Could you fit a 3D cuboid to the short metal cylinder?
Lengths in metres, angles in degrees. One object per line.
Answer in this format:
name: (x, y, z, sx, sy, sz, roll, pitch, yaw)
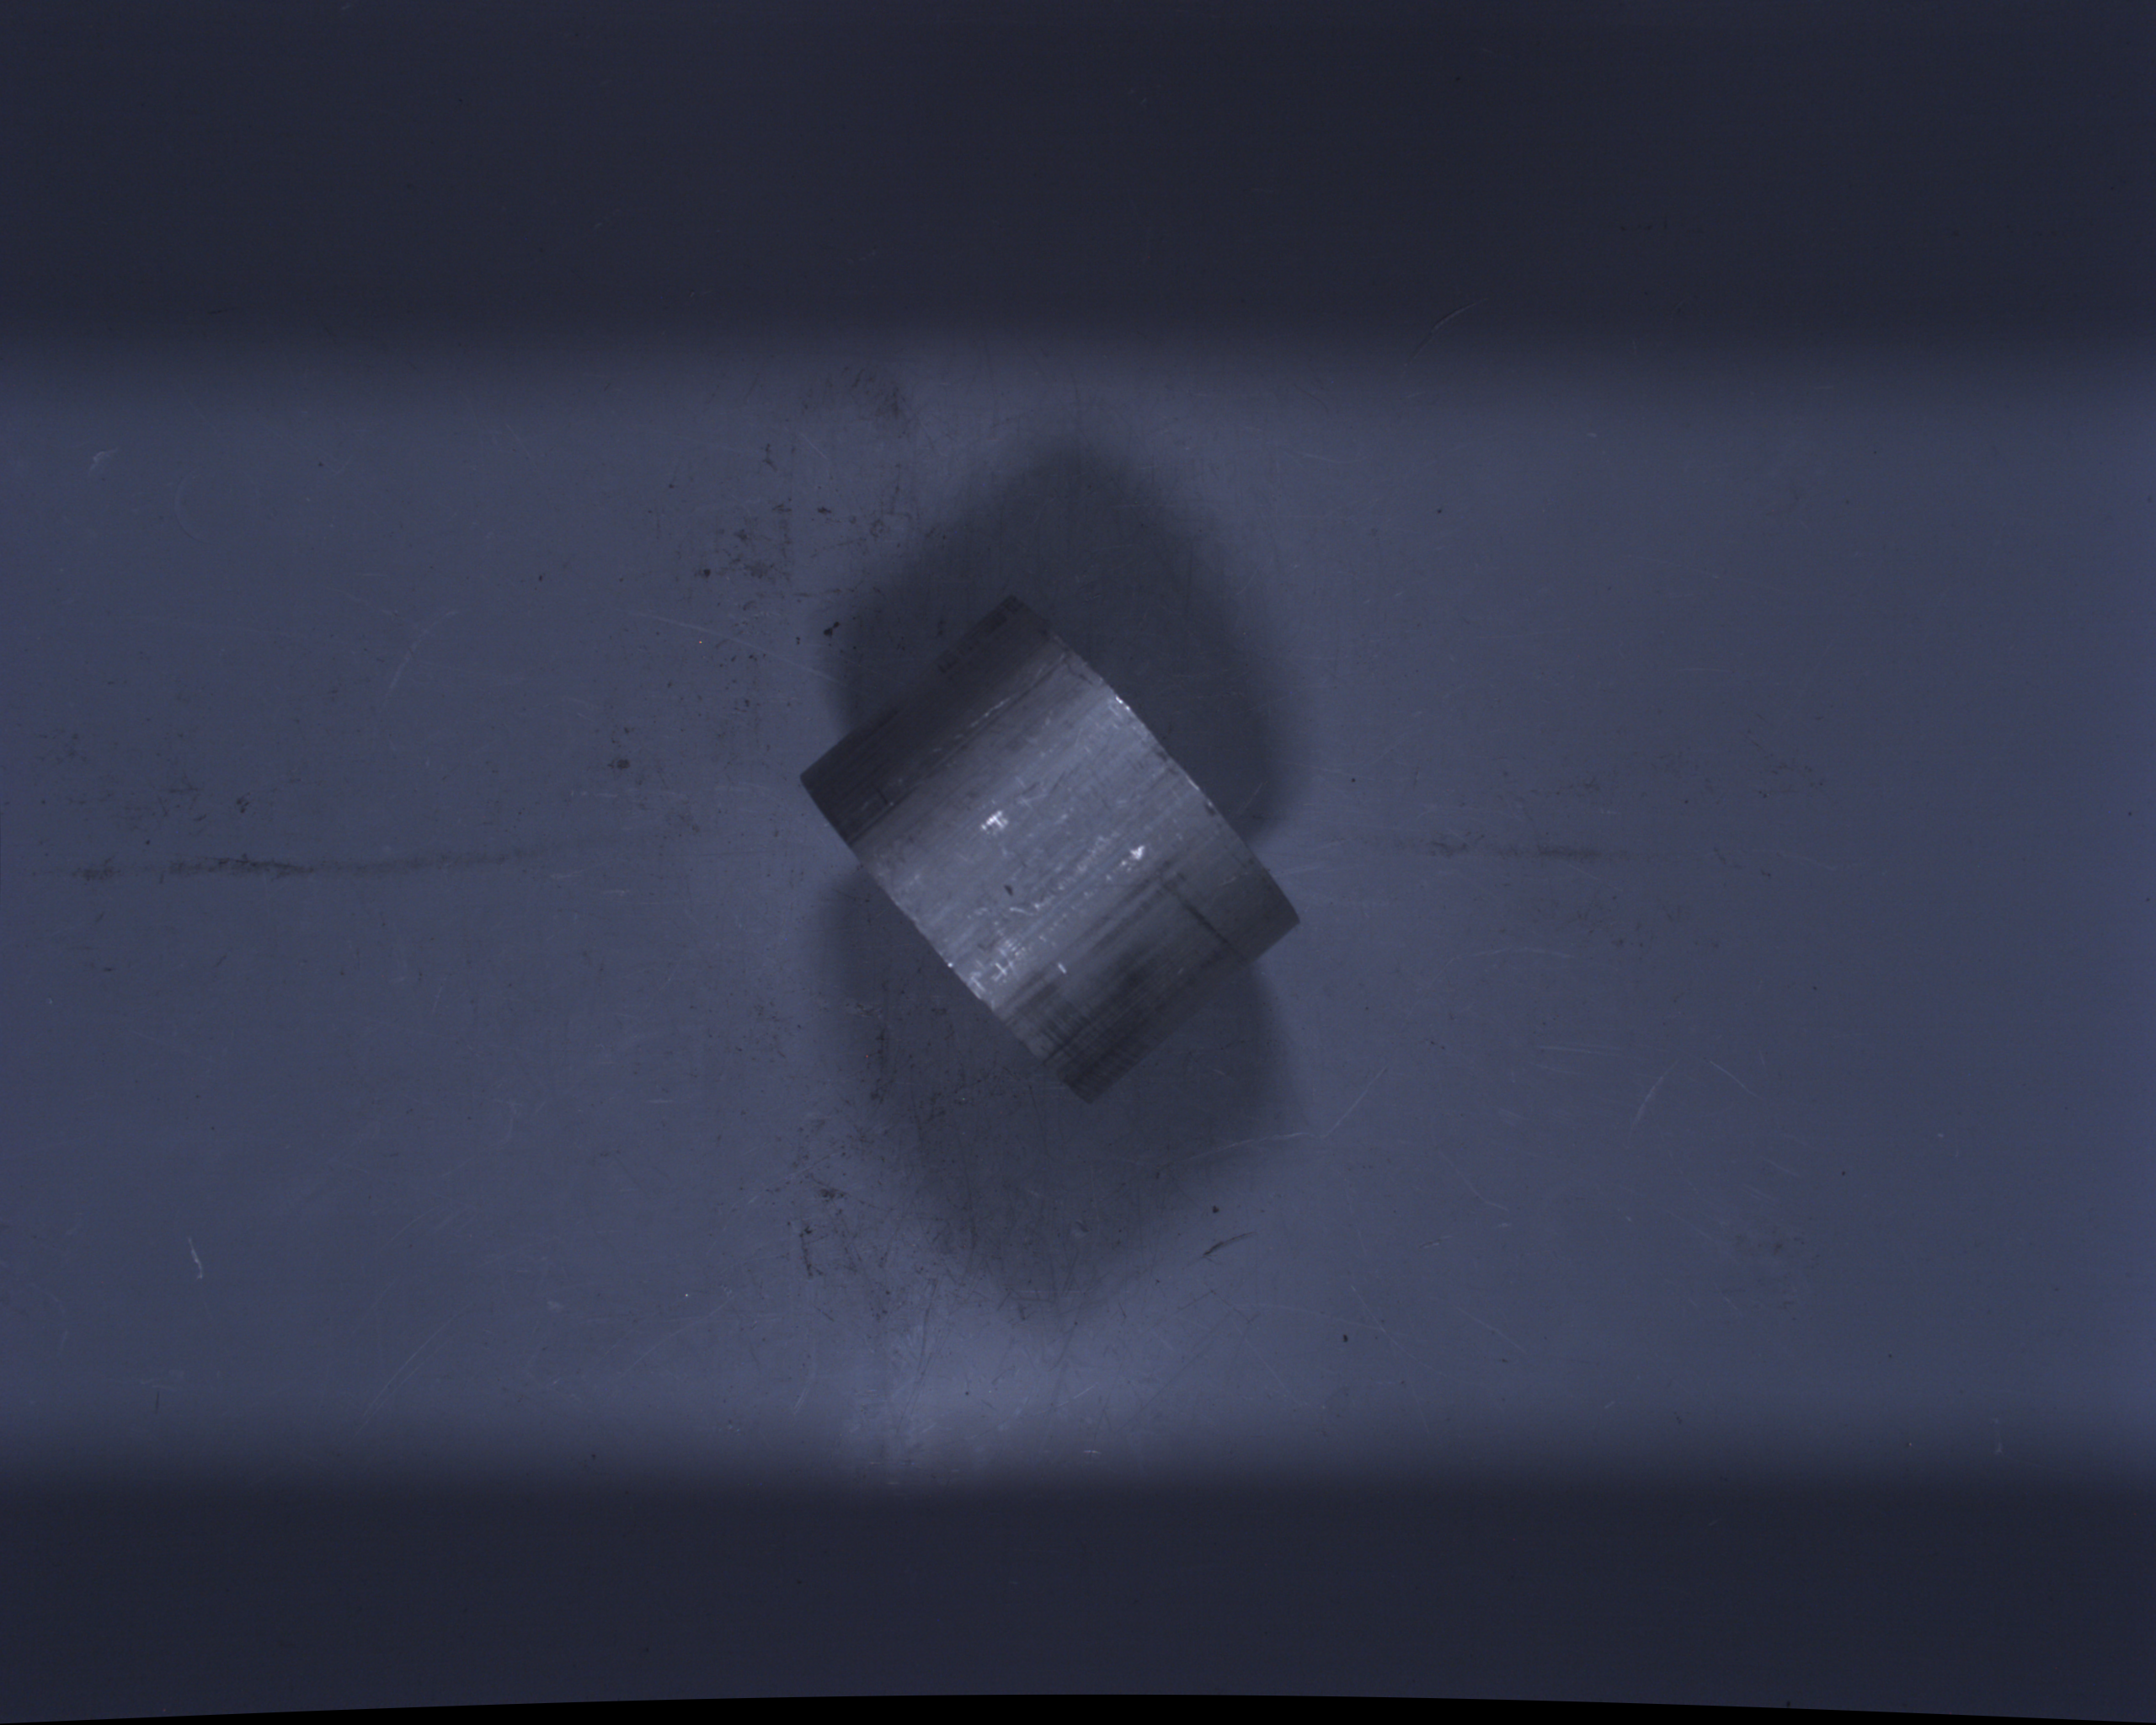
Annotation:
short metal cylinder: (-0.005, -0.003, 0.381, 0.050, 0.080, 0.080, -41, 91, 0)
